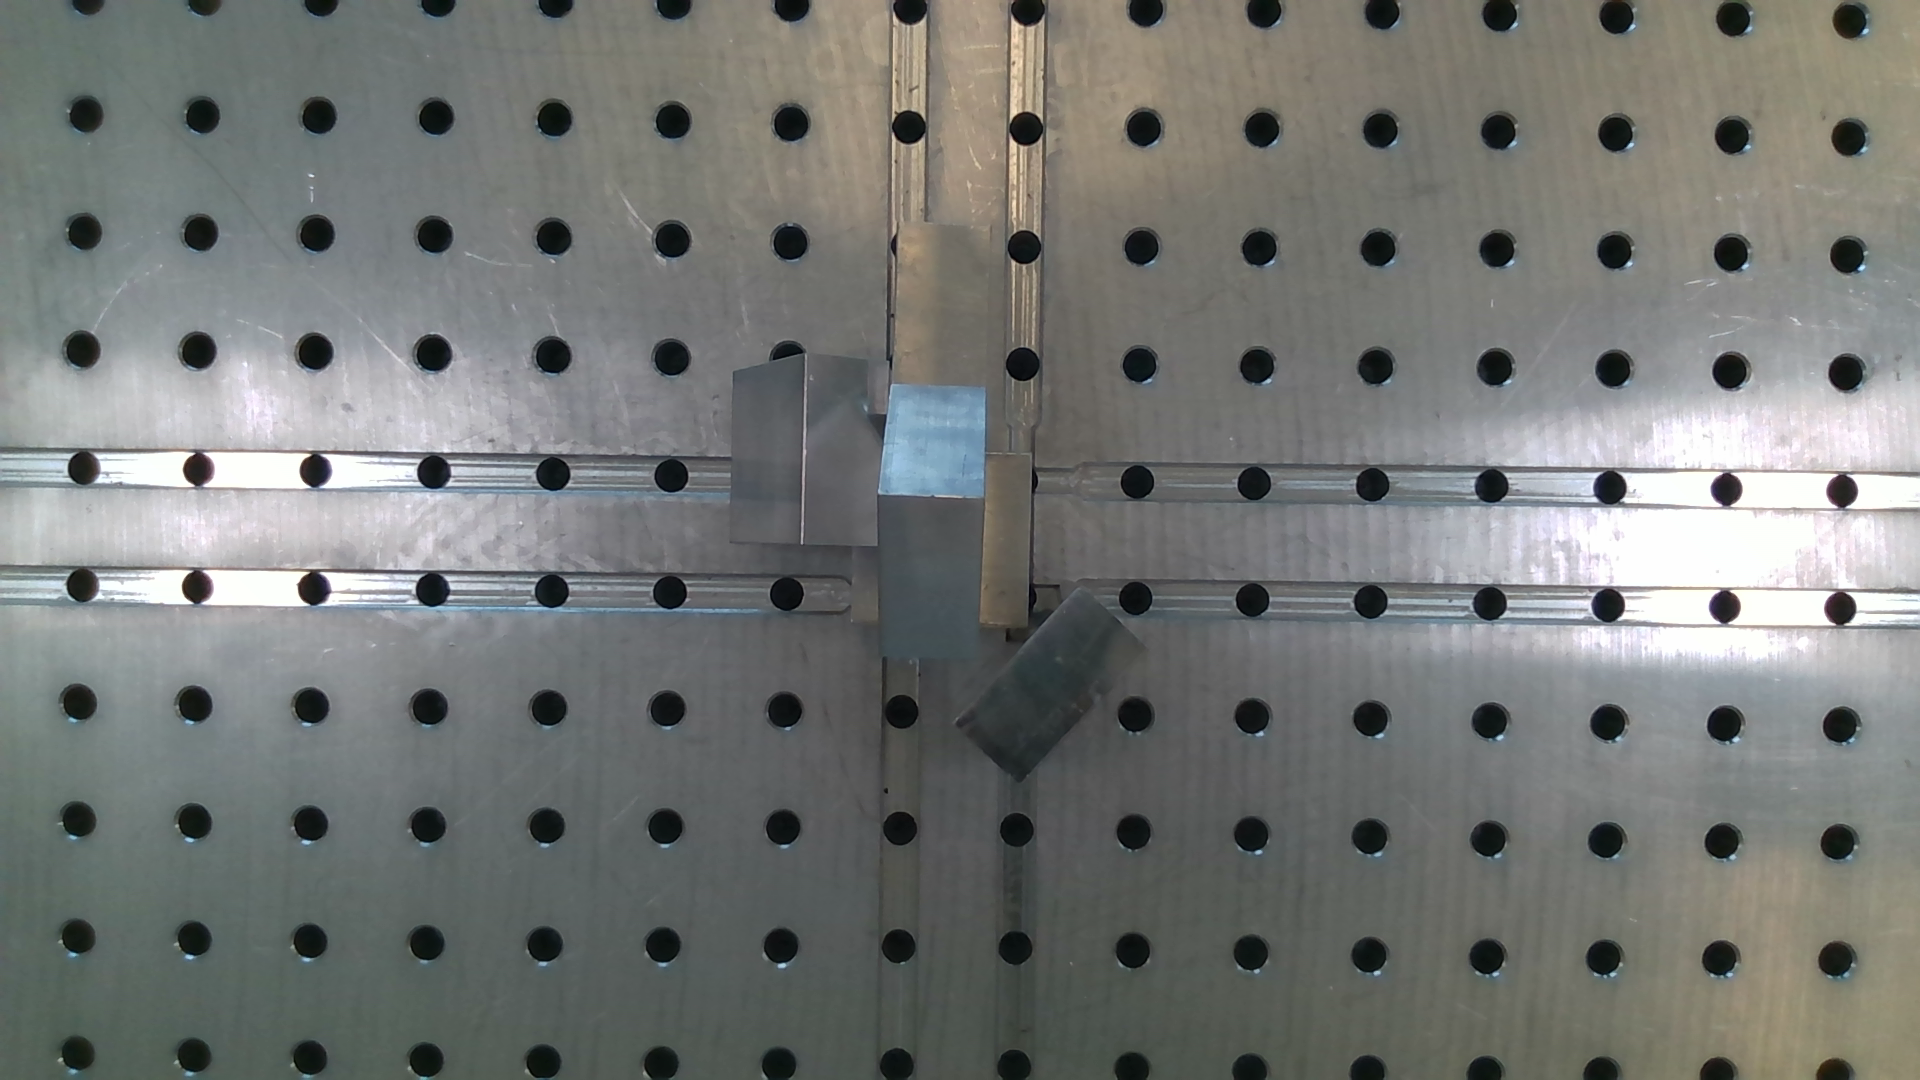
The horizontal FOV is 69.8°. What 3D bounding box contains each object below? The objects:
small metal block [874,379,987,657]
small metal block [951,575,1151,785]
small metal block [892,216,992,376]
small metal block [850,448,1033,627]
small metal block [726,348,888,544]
[{"bbox_3d":[-0.007,-0.006,0.350,0.025,0.050,0.050,3,127,0],"label":"small metal block"},{"bbox_3d":[0.024,0.037,0.385,0.025,0.050,0.050,43,90,-1],"label":"small metal block"},{"bbox_3d":[-0.005,-0.059,0.384,0.025,0.050,0.050,1,89,0],"label":"small metal block"},{"bbox_3d":[-0.005,-0.001,0.397,0.050,0.025,0.050,1,91,0],"label":"small metal block"},{"bbox_3d":[-0.043,-0.024,0.382,0.025,0.050,0.050,1,90,-32],"label":"small metal block"}]
